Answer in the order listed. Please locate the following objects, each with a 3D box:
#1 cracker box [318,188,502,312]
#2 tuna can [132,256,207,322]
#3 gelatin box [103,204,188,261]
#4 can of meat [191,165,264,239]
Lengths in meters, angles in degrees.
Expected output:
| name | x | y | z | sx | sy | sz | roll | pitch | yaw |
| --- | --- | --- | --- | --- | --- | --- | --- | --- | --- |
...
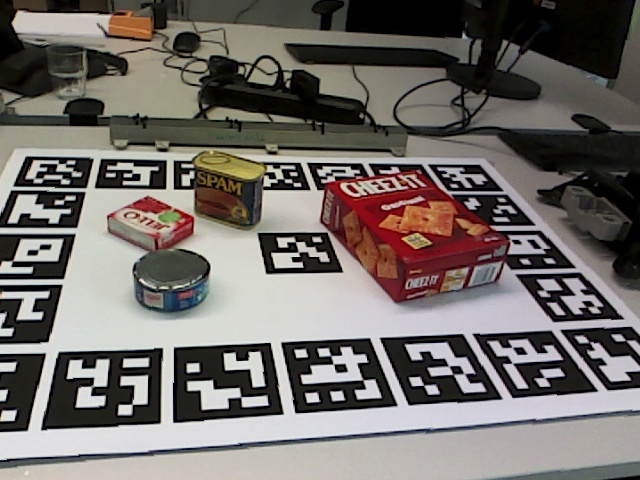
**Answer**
| name | x | y | z | sx | sy | sz | roll | pitch | yaw |
| --- | --- | --- | --- | --- | --- | --- | --- | --- | --- |
| cracker box | 0.120 | 0.003 | 0.869 | 0.163 | 0.072 | 0.215 | -9 | 33 | -28 |
| tuna can | -0.178 | 0.058 | 0.735 | 0.085 | 0.033 | 0.086 | 5 | 34 | -4 |
| gelatin box | -0.239 | -0.013 | 0.849 | 0.090 | 0.030 | 0.073 | 24 | 32 | 21 |
| can of meat | -0.136 | -0.054 | 0.903 | 0.102 | 0.083 | 0.058 | 15 | 31 | 14 |
